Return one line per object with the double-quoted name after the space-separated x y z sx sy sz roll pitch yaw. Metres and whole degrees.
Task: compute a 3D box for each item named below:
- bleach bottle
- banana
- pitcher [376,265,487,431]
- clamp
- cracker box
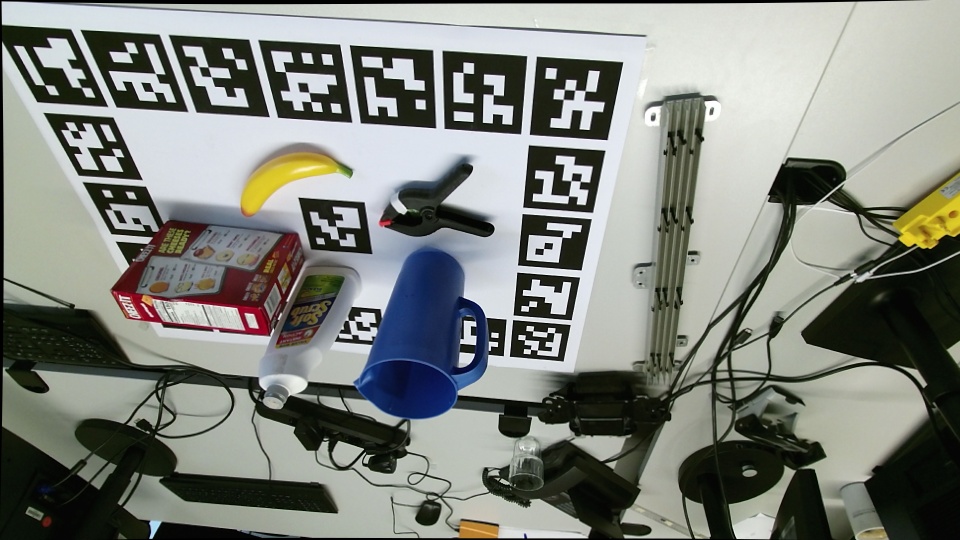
-0.264 0.107 0.847 0.103 0.249 0.068 5 132 2 "bleach bottle"
-0.291 -0.117 0.801 0.198 0.038 0.074 -22 126 24 "banana"
-0.077 0.105 0.799 0.189 0.241 0.133 -8 131 17 "pitcher"
-0.072 -0.076 0.803 0.165 0.036 0.122 -7 132 15 "clamp"
-0.413 0.020 0.823 0.214 0.163 0.072 5 135 0 "cracker box"
